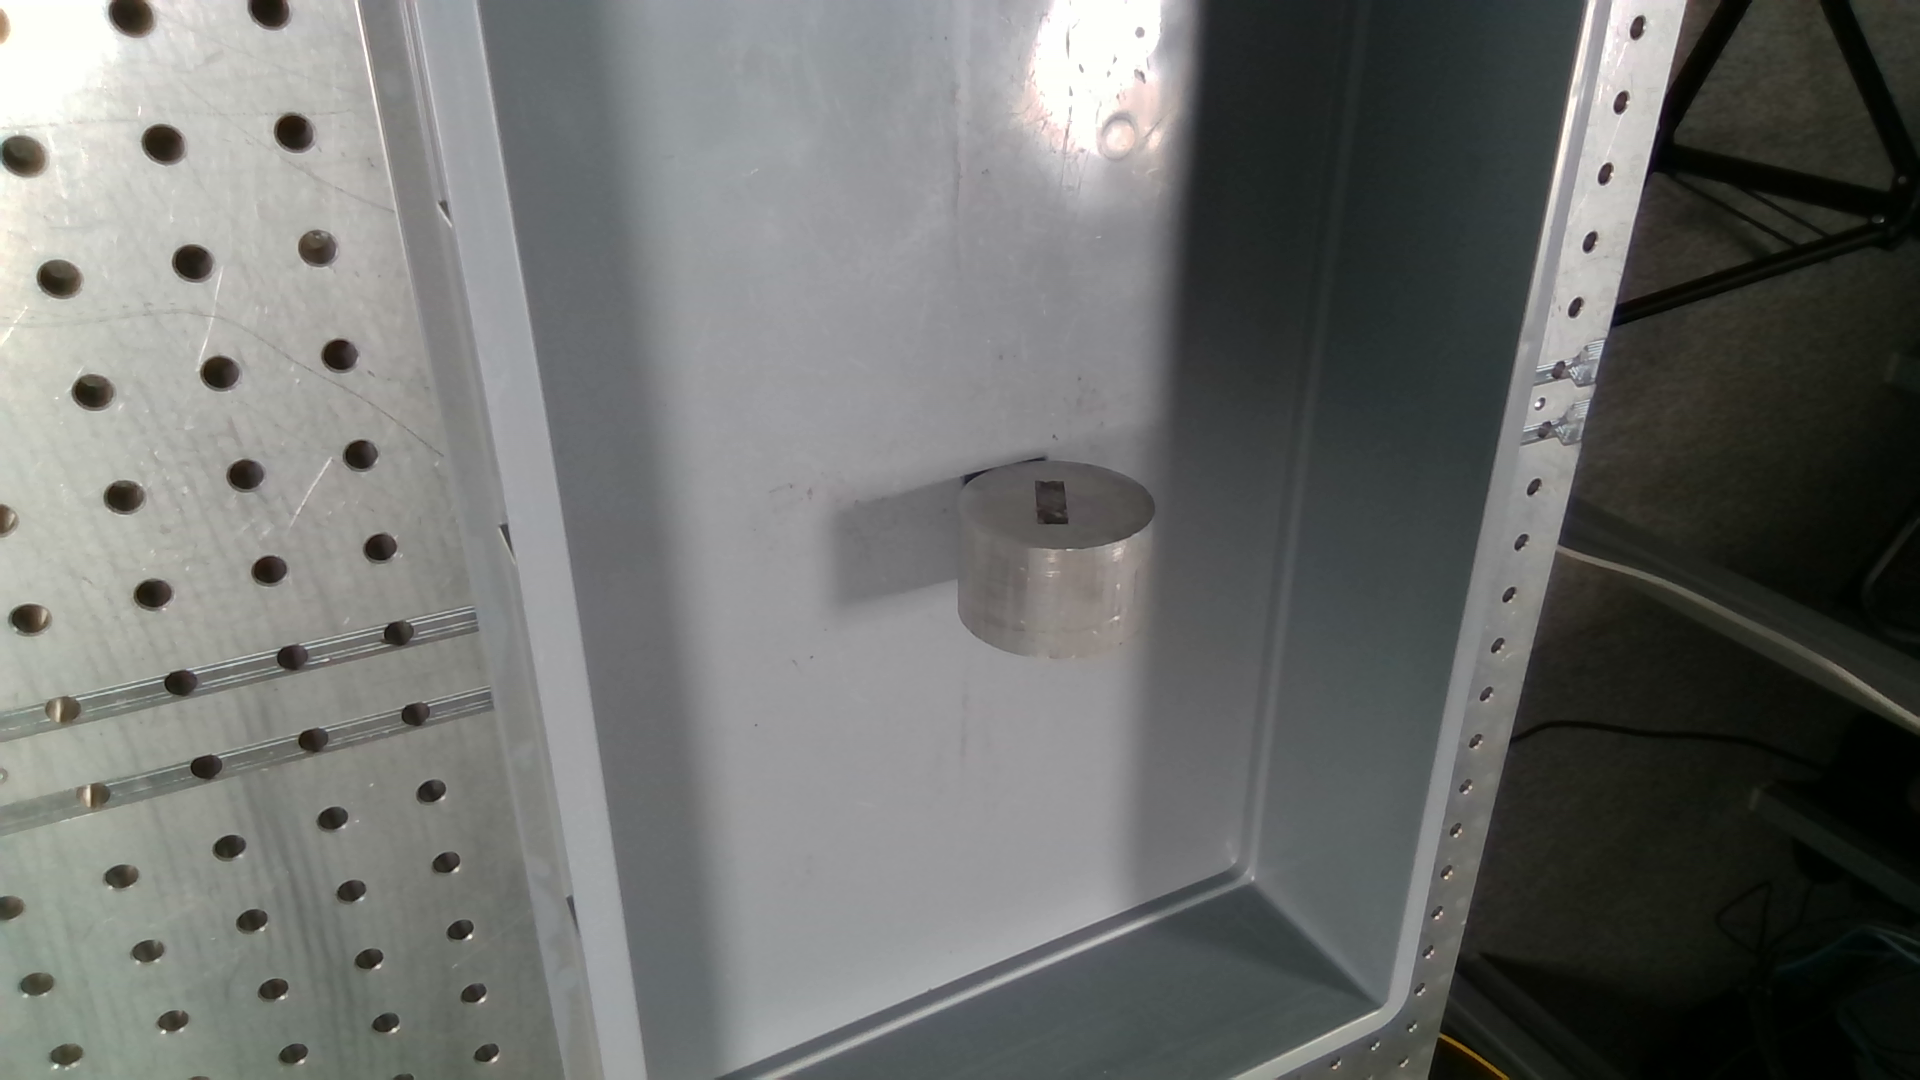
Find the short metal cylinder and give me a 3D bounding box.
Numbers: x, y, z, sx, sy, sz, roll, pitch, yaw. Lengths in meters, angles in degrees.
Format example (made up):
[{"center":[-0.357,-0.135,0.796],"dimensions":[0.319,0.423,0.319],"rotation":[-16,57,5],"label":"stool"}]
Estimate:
[{"center":[0.039,0.006,0.570],"dimensions":[0.080,0.080,0.050],"rotation":[-14,121,-25],"label":"short metal cylinder"}]
